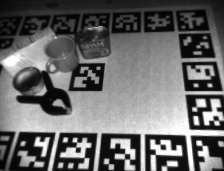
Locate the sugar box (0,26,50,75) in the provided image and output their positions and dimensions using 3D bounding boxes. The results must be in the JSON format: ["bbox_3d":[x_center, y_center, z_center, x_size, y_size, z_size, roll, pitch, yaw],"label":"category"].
[{"bbox_3d":[-0.261,-0.103,0.668,0.177,0.093,0.045,-33,62,-12],"label":"sugar box"}]

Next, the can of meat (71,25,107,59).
[{"bbox_3d":[-0.067,-0.131,0.668,0.102,0.084,0.057,-7,60,1],"label":"can of meat"}]

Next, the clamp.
[{"bbox_3d":[-0.194,0.036,0.620,0.164,0.037,0.122,35,67,17],"label":"clamp"}]

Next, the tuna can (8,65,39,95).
[{"bbox_3d":[-0.268,-0.016,0.649,0.085,0.034,0.085,-2,64,5],"label":"tuna can"}]

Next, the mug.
[{"bbox_3d":[-0.171,-0.091,0.649,0.092,0.082,0.117,24,69,17],"label":"mug"}]
